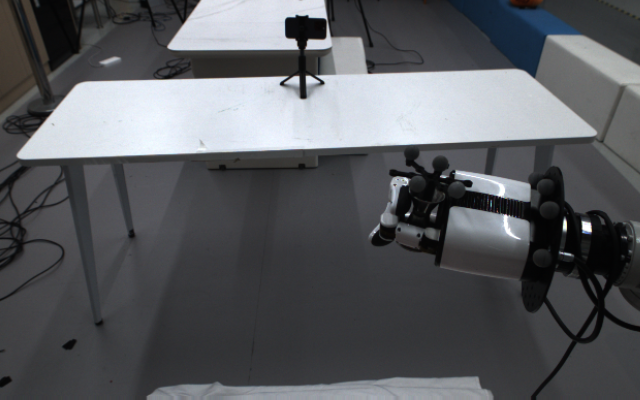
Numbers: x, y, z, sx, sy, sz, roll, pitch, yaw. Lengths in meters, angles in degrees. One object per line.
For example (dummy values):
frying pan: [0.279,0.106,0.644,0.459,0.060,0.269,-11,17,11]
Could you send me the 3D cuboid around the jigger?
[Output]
jigger: [0.114,0.020,0.551,0.043,0.071,0.043,7,32,-4]
